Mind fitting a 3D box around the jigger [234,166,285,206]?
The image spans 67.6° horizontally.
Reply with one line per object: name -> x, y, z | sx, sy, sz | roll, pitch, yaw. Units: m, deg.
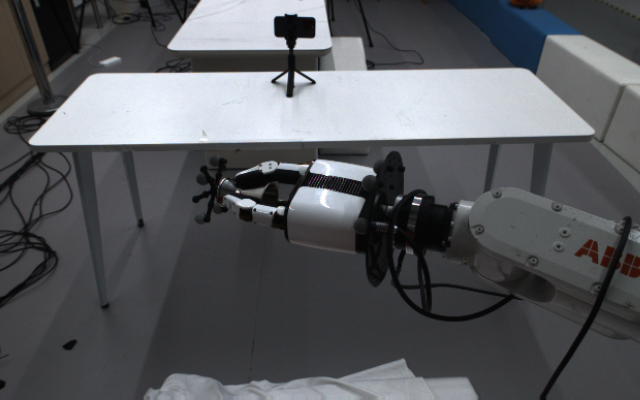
jigger -> -0.089, -0.008, 0.628 | 0.071, 0.043, 0.043 | 10, 35, 22
